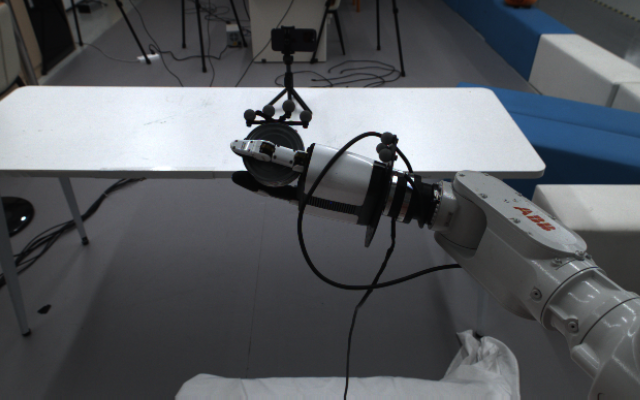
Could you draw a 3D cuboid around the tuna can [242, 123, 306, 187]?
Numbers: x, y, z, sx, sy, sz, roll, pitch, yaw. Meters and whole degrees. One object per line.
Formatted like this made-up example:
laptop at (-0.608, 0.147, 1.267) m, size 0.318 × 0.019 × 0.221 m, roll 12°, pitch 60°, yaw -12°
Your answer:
tuna can at (-0.063, -0.062, 0.672) m, size 0.085 × 0.034 × 0.085 m, roll -1°, pitch 76°, yaw 4°
